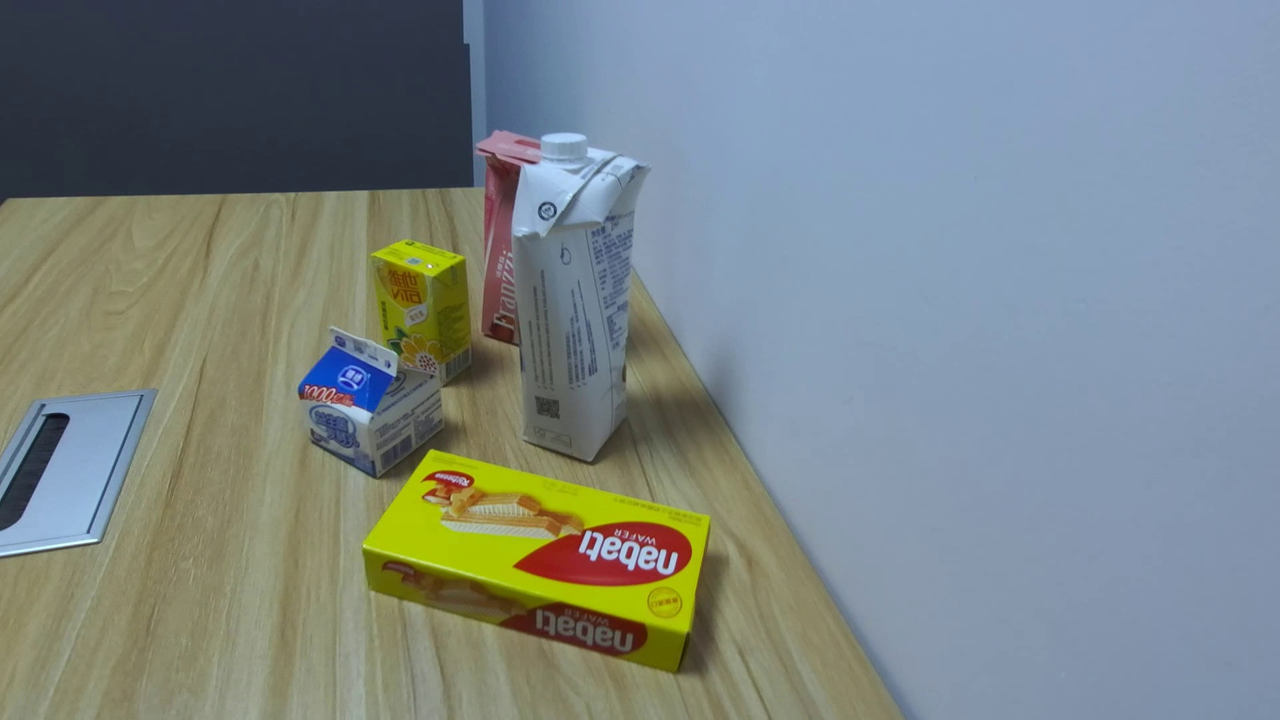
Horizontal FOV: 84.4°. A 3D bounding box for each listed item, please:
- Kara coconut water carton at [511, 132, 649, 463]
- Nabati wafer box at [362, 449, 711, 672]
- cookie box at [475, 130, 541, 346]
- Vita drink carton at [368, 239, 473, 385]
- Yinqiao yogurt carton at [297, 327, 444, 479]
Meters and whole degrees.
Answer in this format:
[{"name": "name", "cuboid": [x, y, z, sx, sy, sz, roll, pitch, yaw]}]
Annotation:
[{"name": "Kara coconut water carton", "cuboid": [-0.043, -0.041, 0.510, 0.069, 0.238, 0.115, 17, 36, 18]}, {"name": "Nabati wafer box", "cuboid": [-0.062, 0.122, 0.450, 0.202, 0.042, 0.093, 12, 35, 8]}, {"name": "cookie box", "cuboid": [-0.100, -0.101, 0.654, 0.118, 0.184, 0.055, 17, 33, 20]}, {"name": "Vita drink carton", "cuboid": [-0.187, -0.042, 0.602, 0.076, 0.109, 0.043, 20, 37, 20]}, {"name": "Yinqiao yogurt carton", "cuboid": [-0.200, 0.022, 0.525, 0.075, 0.092, 0.074, 21, 38, 22]}]
